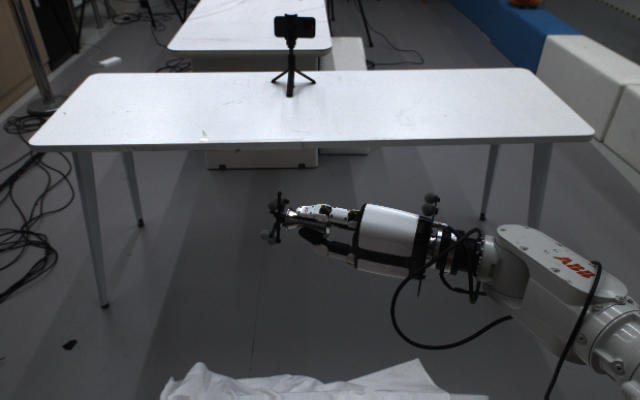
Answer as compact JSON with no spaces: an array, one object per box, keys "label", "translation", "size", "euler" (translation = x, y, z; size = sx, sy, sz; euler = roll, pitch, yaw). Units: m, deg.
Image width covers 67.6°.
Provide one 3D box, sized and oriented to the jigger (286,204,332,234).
[{"label":"jigger","translation":[-0.012,0.031,0.785],"size":[0.071,0.043,0.043],"euler":[7,35,11]}]
